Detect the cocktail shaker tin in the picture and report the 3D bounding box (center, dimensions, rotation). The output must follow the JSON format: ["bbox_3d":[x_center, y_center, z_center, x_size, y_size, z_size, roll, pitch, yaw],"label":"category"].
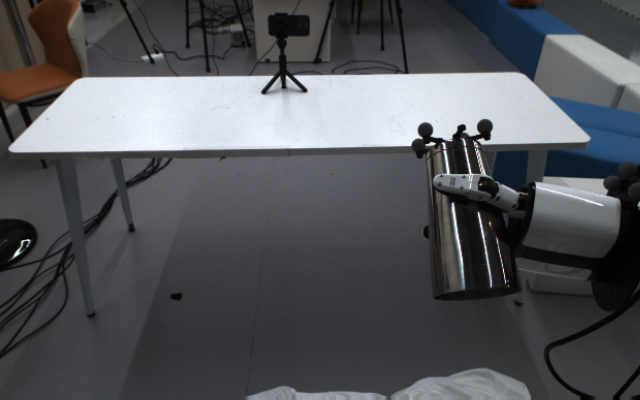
[{"bbox_3d":[0.164,0.021,0.545,0.093,0.093,0.170,-2,71,-6],"label":"cocktail shaker tin"}]
